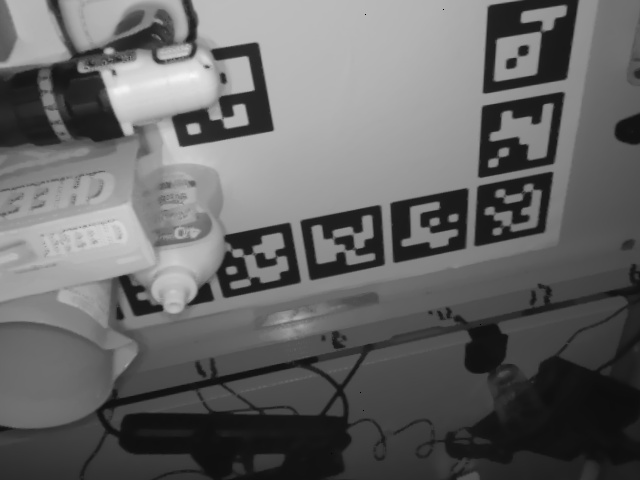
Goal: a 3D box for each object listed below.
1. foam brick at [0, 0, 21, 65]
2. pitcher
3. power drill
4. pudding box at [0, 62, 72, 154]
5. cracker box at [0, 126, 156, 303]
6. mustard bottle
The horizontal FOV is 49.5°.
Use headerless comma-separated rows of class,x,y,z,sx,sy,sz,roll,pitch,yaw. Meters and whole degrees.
foam brick,-0.308,-0.180,0.598,0.078,0.051,0.052,-8,125,-6
pitcher,-0.269,0.043,0.654,0.190,0.243,0.132,-6,127,-10
power drill,-0.174,-0.139,0.530,0.185,0.188,0.057,-11,131,-4
pudding box,-0.240,-0.120,0.616,0.114,0.090,0.038,-11,129,-8
cracker box,-0.234,-0.049,0.602,0.165,0.214,0.071,-13,129,-6
mustard bottle,-0.140,0.012,0.676,0.097,0.192,0.058,1,125,-13
